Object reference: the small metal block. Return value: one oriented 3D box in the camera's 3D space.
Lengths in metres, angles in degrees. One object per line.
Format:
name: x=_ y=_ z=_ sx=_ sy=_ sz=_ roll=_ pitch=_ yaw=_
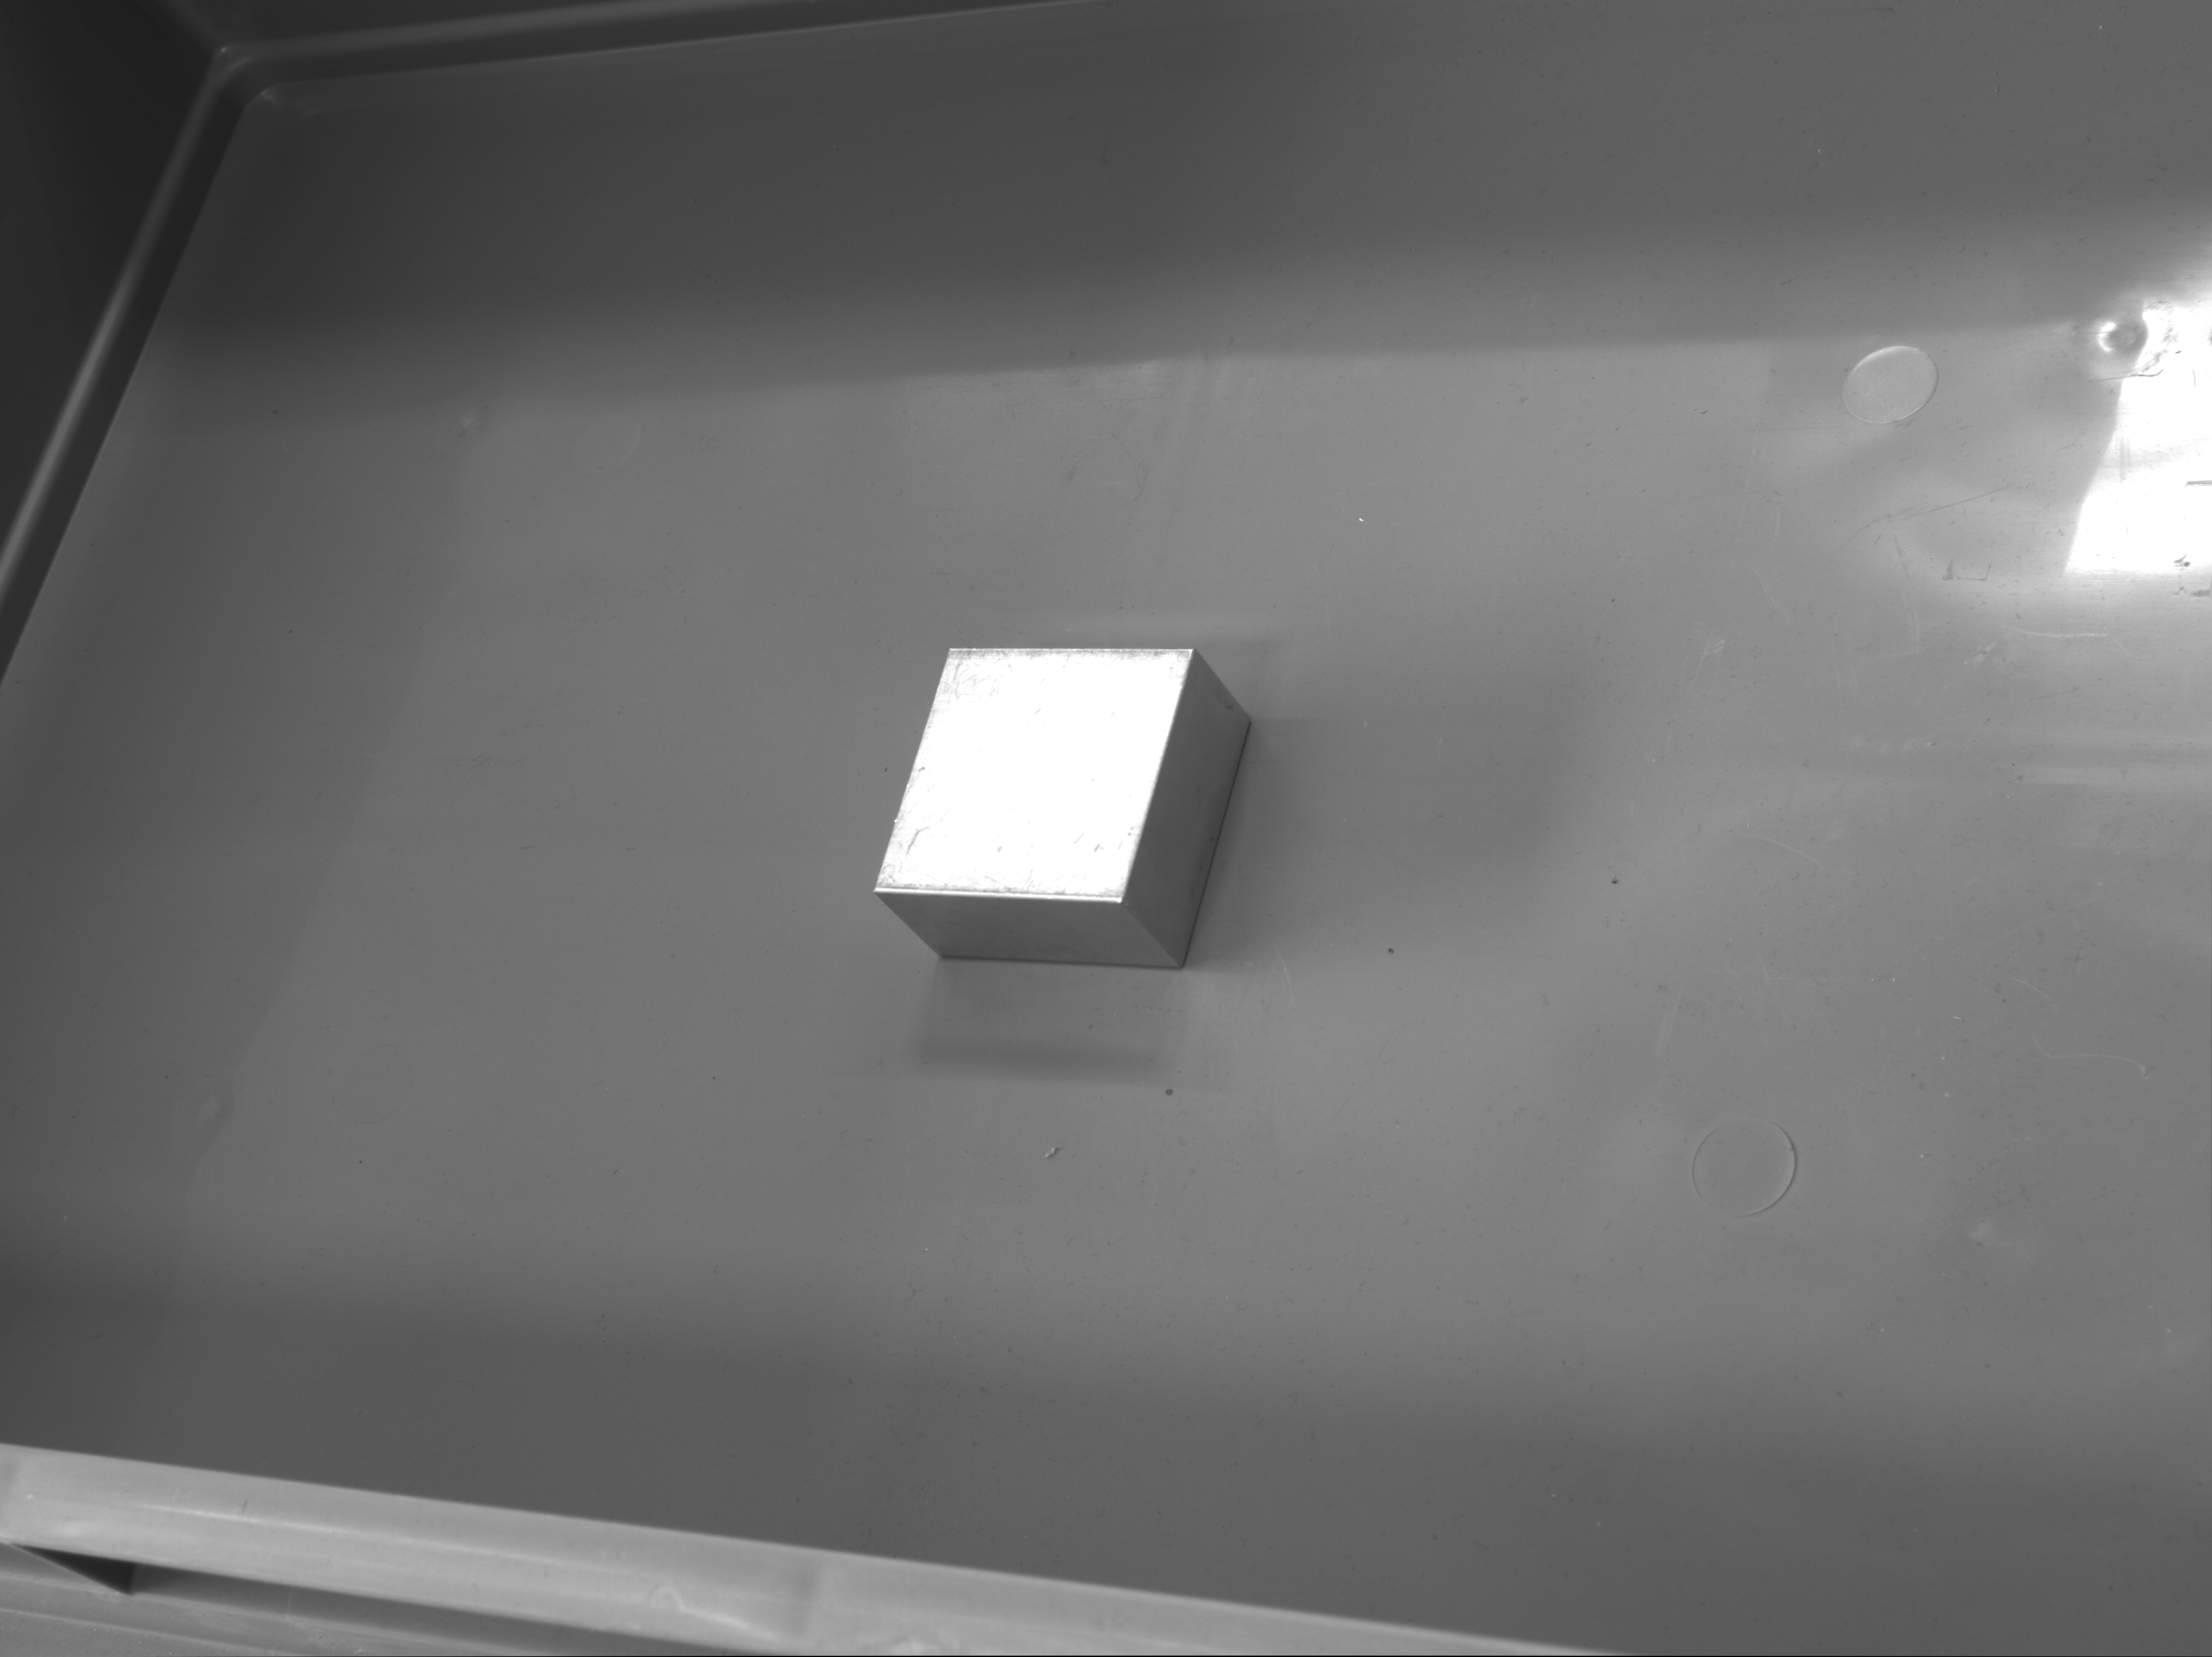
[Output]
small metal block: x=-0.008 y=-0.004 z=0.648 sx=0.050 sy=0.025 sz=0.050 roll=1 pitch=62 yaw=30
